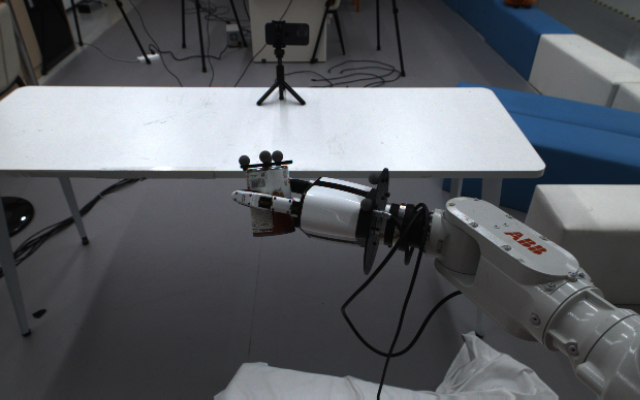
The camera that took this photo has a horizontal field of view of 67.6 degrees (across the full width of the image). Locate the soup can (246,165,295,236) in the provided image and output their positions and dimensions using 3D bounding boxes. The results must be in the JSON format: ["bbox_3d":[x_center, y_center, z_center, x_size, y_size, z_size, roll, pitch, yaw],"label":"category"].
[{"bbox_3d":[-0.075,0.002,0.743,0.067,0.101,0.067,-7,3,0],"label":"soup can"}]
